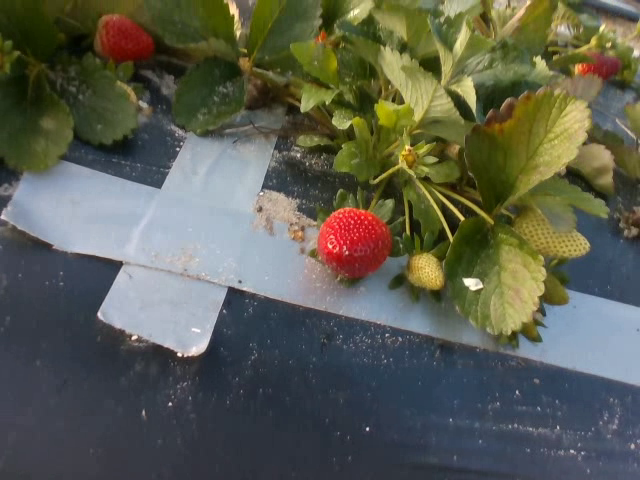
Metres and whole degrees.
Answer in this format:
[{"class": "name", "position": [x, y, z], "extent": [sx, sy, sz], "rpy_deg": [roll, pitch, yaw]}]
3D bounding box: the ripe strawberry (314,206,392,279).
[{"class": "ripe strawberry", "position": [0.008, 0.001, 0.148], "extent": [0.023, 0.021, 0.026], "rpy_deg": [8, 20, 16]}]
